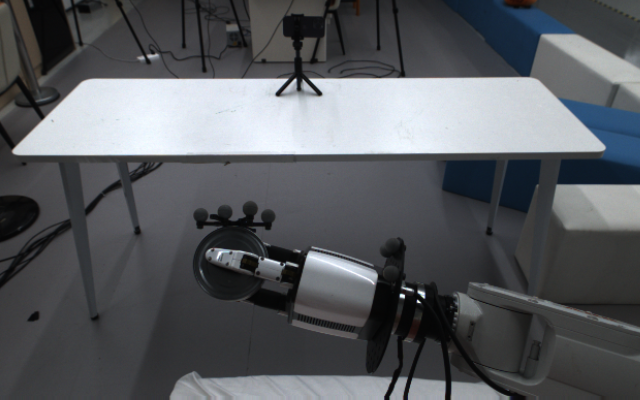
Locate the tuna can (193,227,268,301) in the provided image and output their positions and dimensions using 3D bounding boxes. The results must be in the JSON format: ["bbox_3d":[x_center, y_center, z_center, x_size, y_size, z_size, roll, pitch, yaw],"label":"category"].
[{"bbox_3d":[-0.100,0.080,0.561,0.085,0.034,0.085,1,74,-5],"label":"tuna can"}]
